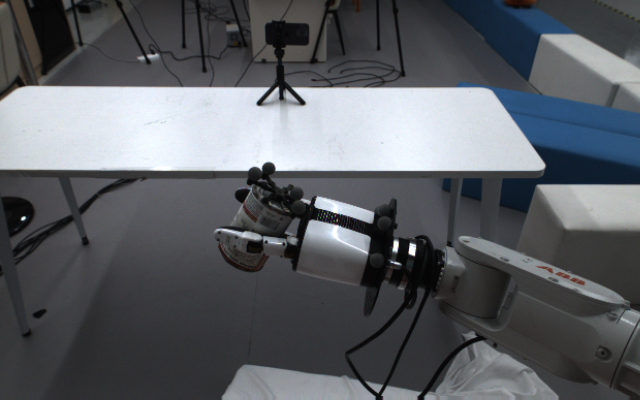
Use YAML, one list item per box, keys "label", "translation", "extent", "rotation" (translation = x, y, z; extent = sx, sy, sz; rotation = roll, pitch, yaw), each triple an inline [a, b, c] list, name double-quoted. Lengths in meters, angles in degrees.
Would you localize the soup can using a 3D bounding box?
- label: "soup can"
  translation: [-0.079, 0.036, 0.634]
  extent: [0.067, 0.101, 0.067]
  rotation: [28, 22, -12]
